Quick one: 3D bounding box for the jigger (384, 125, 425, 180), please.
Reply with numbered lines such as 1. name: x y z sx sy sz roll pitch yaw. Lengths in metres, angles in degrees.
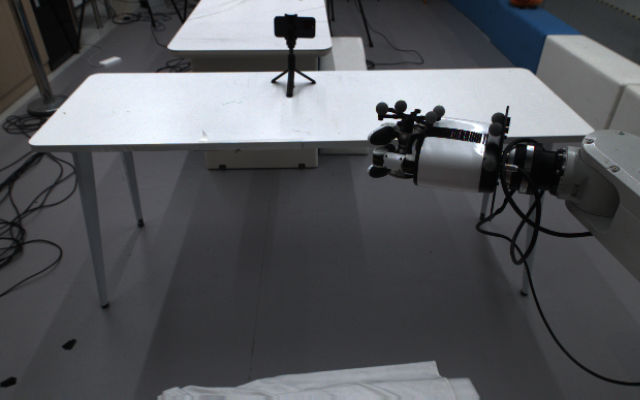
1. jigger: 0.126 -0.071 0.705 0.043 0.071 0.043 3 24 -1
